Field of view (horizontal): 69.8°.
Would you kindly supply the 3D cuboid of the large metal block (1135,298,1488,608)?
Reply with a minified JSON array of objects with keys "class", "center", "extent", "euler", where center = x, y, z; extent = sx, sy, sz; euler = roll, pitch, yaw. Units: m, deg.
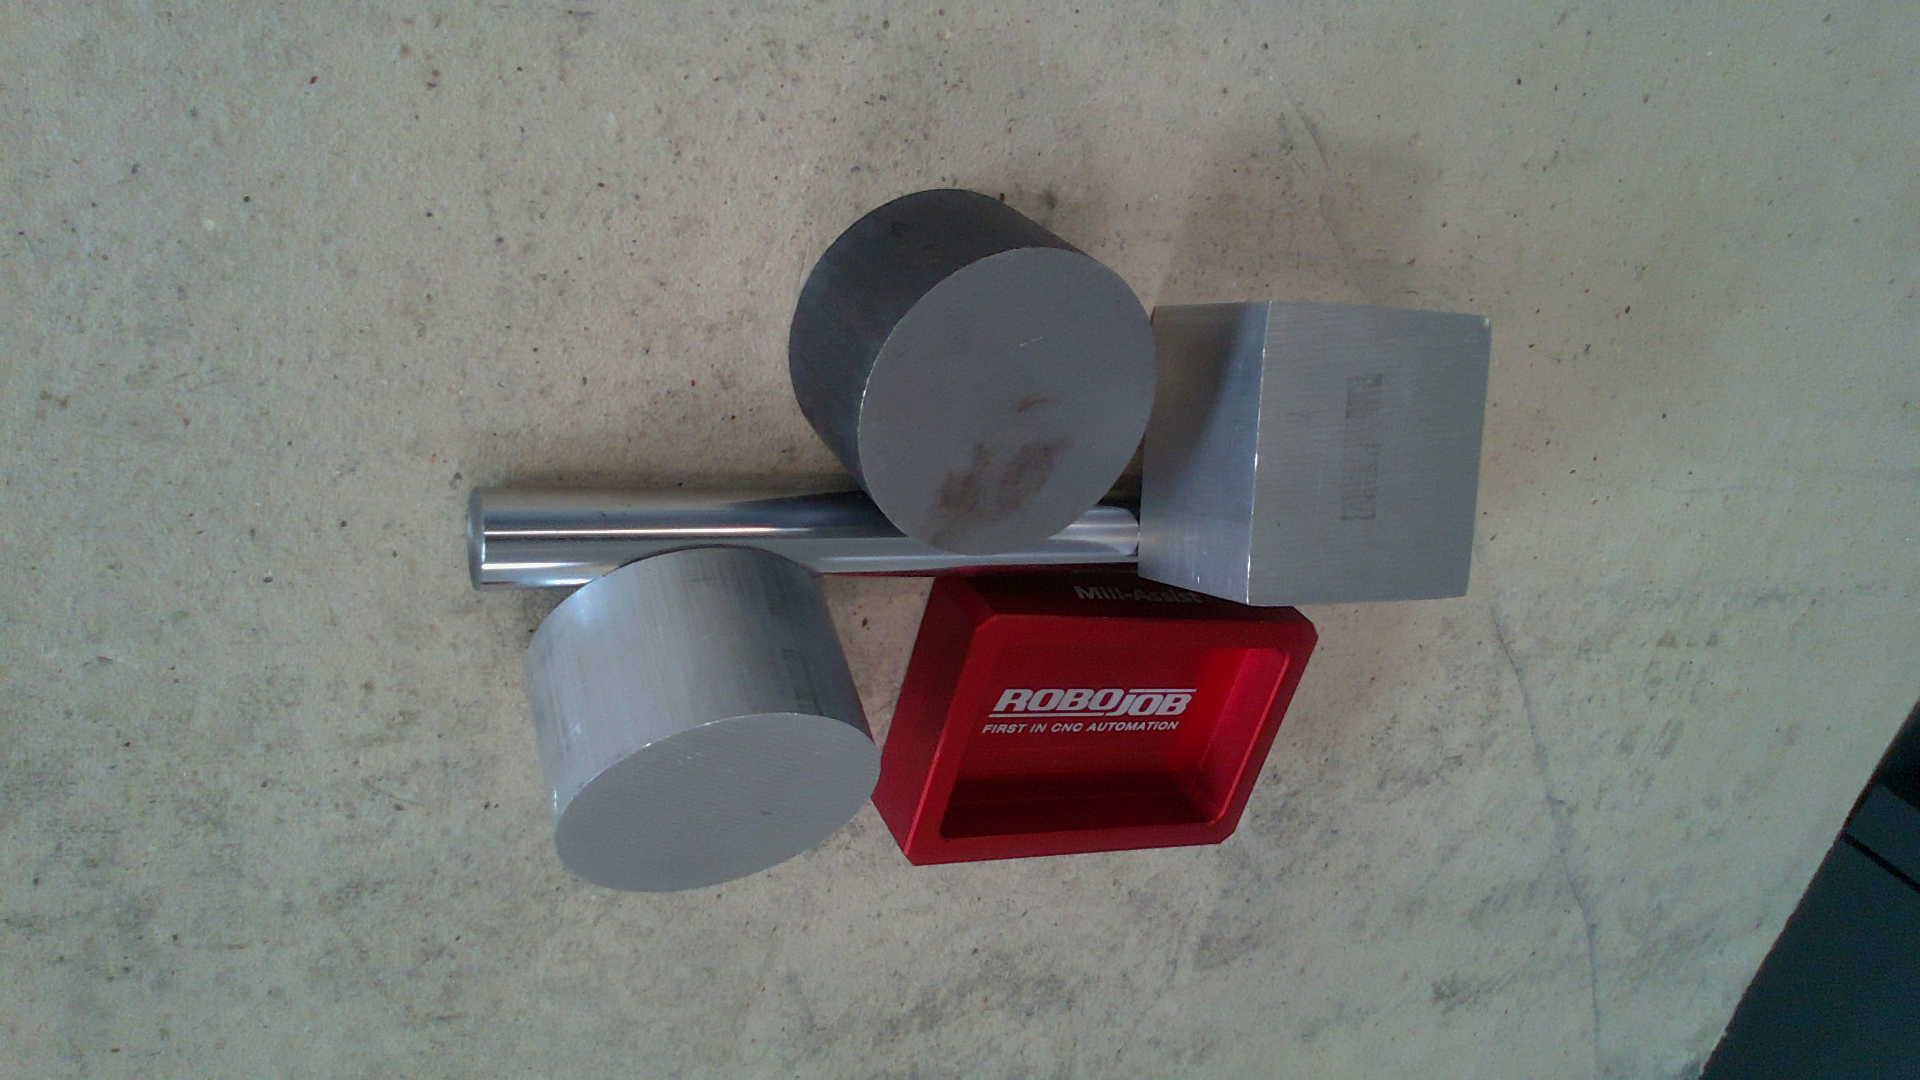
[{"class":"large metal block","center":[0.100,-0.026,0.396],"extent":[0.080,0.050,0.080],"euler":[-1,98,-28]}]

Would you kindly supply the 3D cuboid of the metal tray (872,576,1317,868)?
[{"class":"metal tray","center":[0.044,0.057,0.444],"extent":[0.130,0.030,0.090],"euler":[3,117,-30]}]

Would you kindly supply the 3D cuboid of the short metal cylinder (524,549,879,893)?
[{"class":"short metal cylinder","center":[-0.066,0.047,0.350],"extent":[0.080,0.050,0.080],"euler":[-15,144,-11]}]

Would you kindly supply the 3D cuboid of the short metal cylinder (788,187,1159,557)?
[{"class":"short metal cylinder","center":[0.003,-0.043,0.348],"extent":[0.080,0.050,0.080],"euler":[-14,123,-21]}]

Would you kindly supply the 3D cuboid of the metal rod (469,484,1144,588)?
[{"class":"metal rod","center":[0.017,-0.003,0.398],"extent":[0.301,0.025,0.025],"euler":[-1,119,-28]}]
